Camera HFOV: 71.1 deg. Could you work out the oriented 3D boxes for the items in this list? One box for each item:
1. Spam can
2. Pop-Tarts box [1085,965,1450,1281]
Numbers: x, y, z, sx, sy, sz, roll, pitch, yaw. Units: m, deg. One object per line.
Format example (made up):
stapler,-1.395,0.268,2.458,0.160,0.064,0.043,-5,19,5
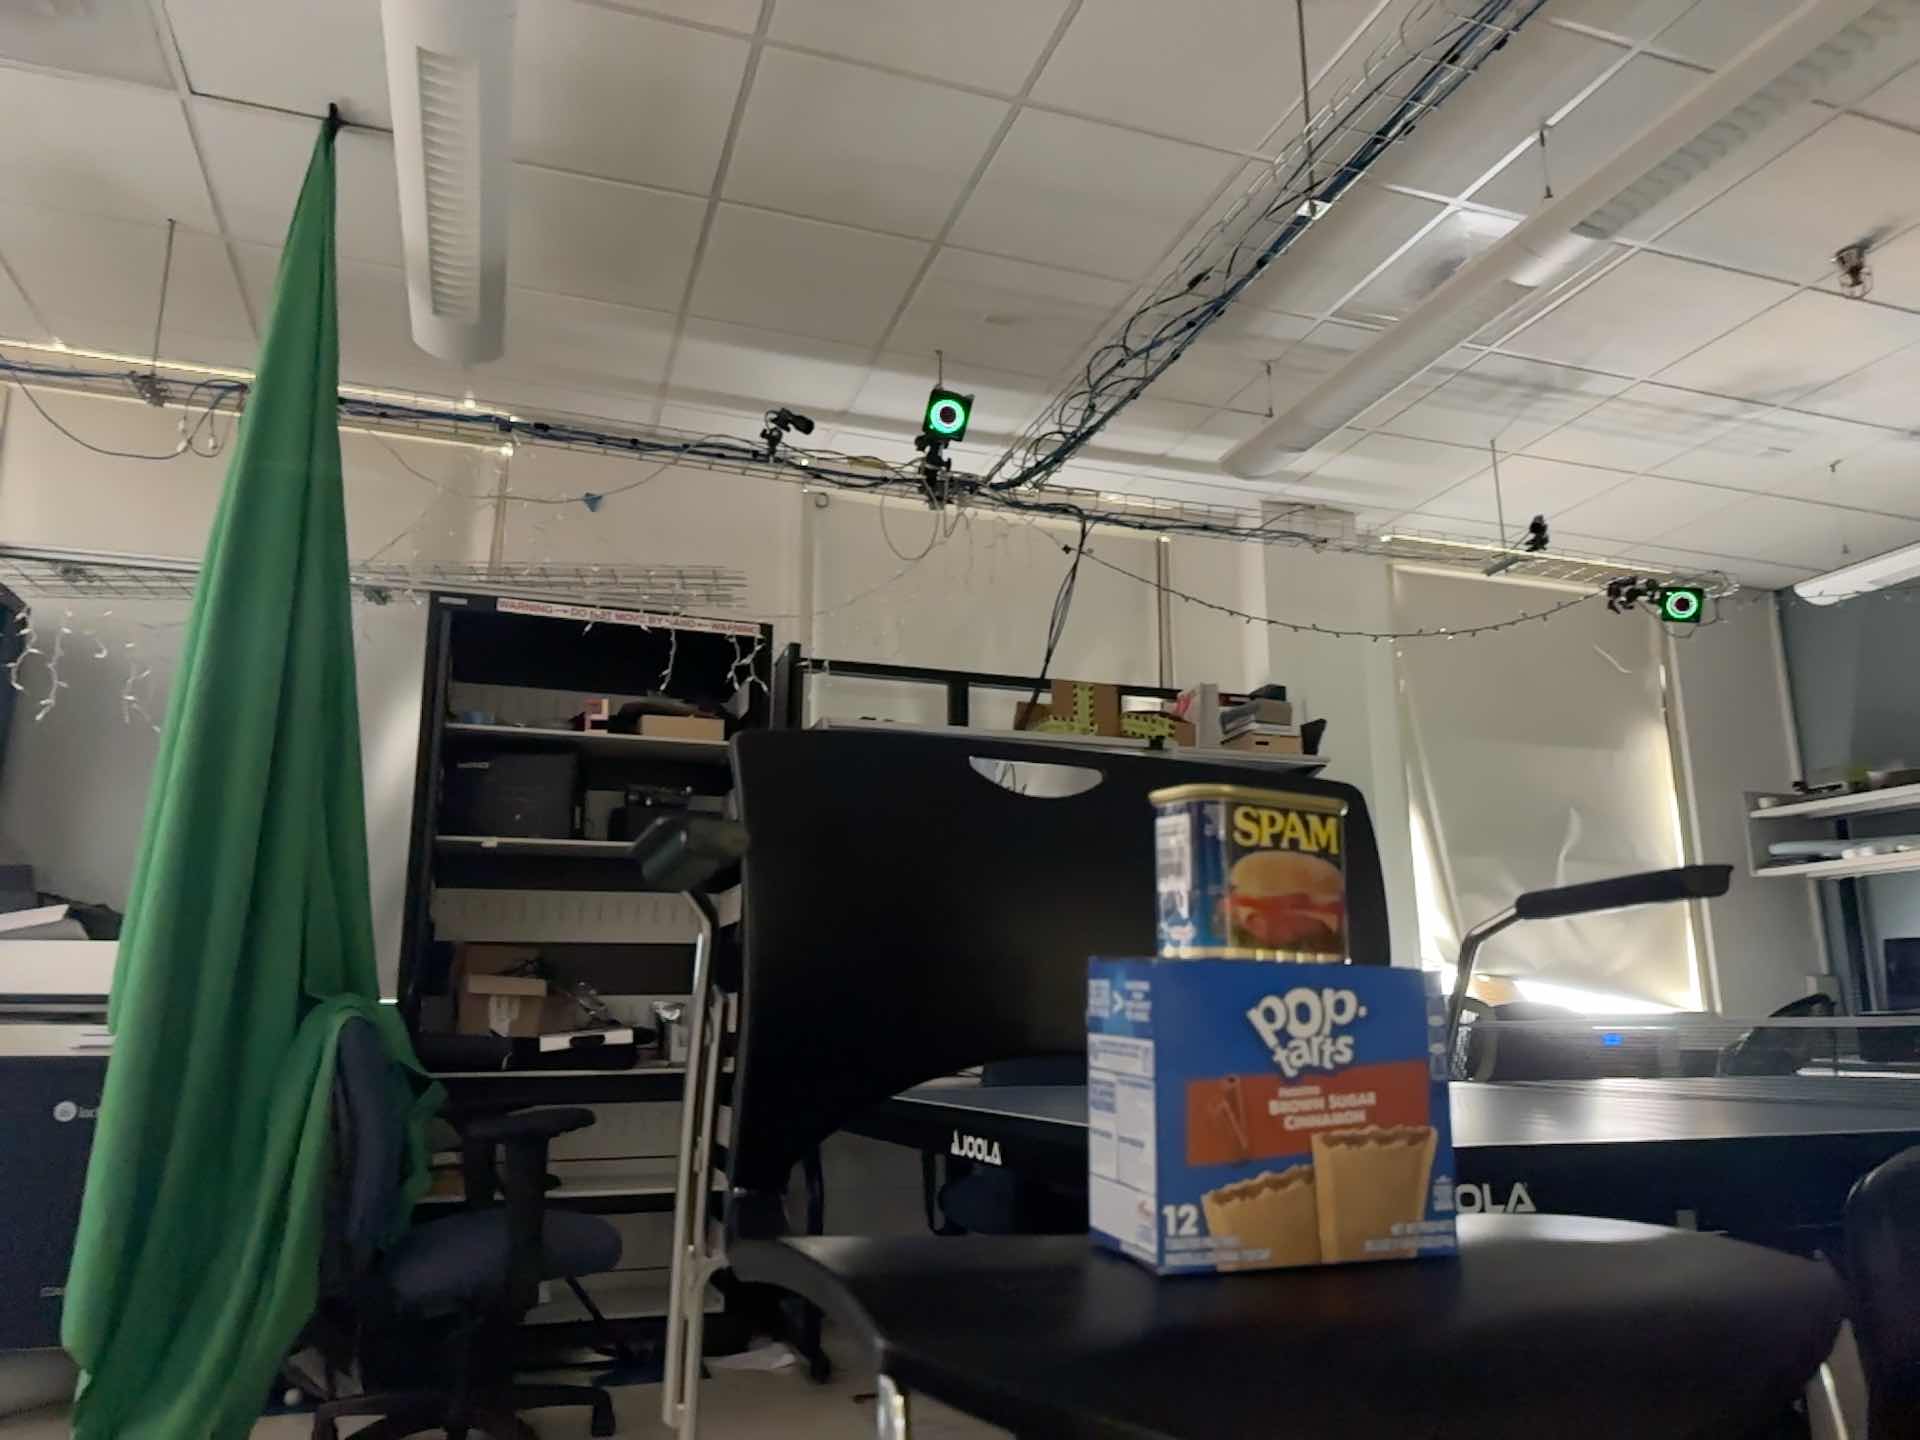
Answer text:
Spam can,0.148,0.081,0.692,0.100,0.083,0.056,6,-10,-24
Pop-Tarts box,0.154,0.196,0.683,0.161,0.135,0.075,4,-10,-22
